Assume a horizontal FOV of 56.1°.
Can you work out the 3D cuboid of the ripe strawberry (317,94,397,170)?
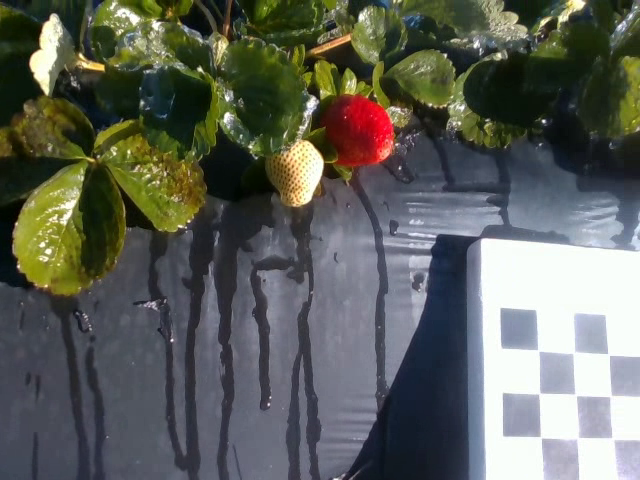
[{"bbox_3d":[0.026,-0.055,0.351,0.042,0.046,0.061,-9,39,-13],"label":"ripe strawberry"}]
